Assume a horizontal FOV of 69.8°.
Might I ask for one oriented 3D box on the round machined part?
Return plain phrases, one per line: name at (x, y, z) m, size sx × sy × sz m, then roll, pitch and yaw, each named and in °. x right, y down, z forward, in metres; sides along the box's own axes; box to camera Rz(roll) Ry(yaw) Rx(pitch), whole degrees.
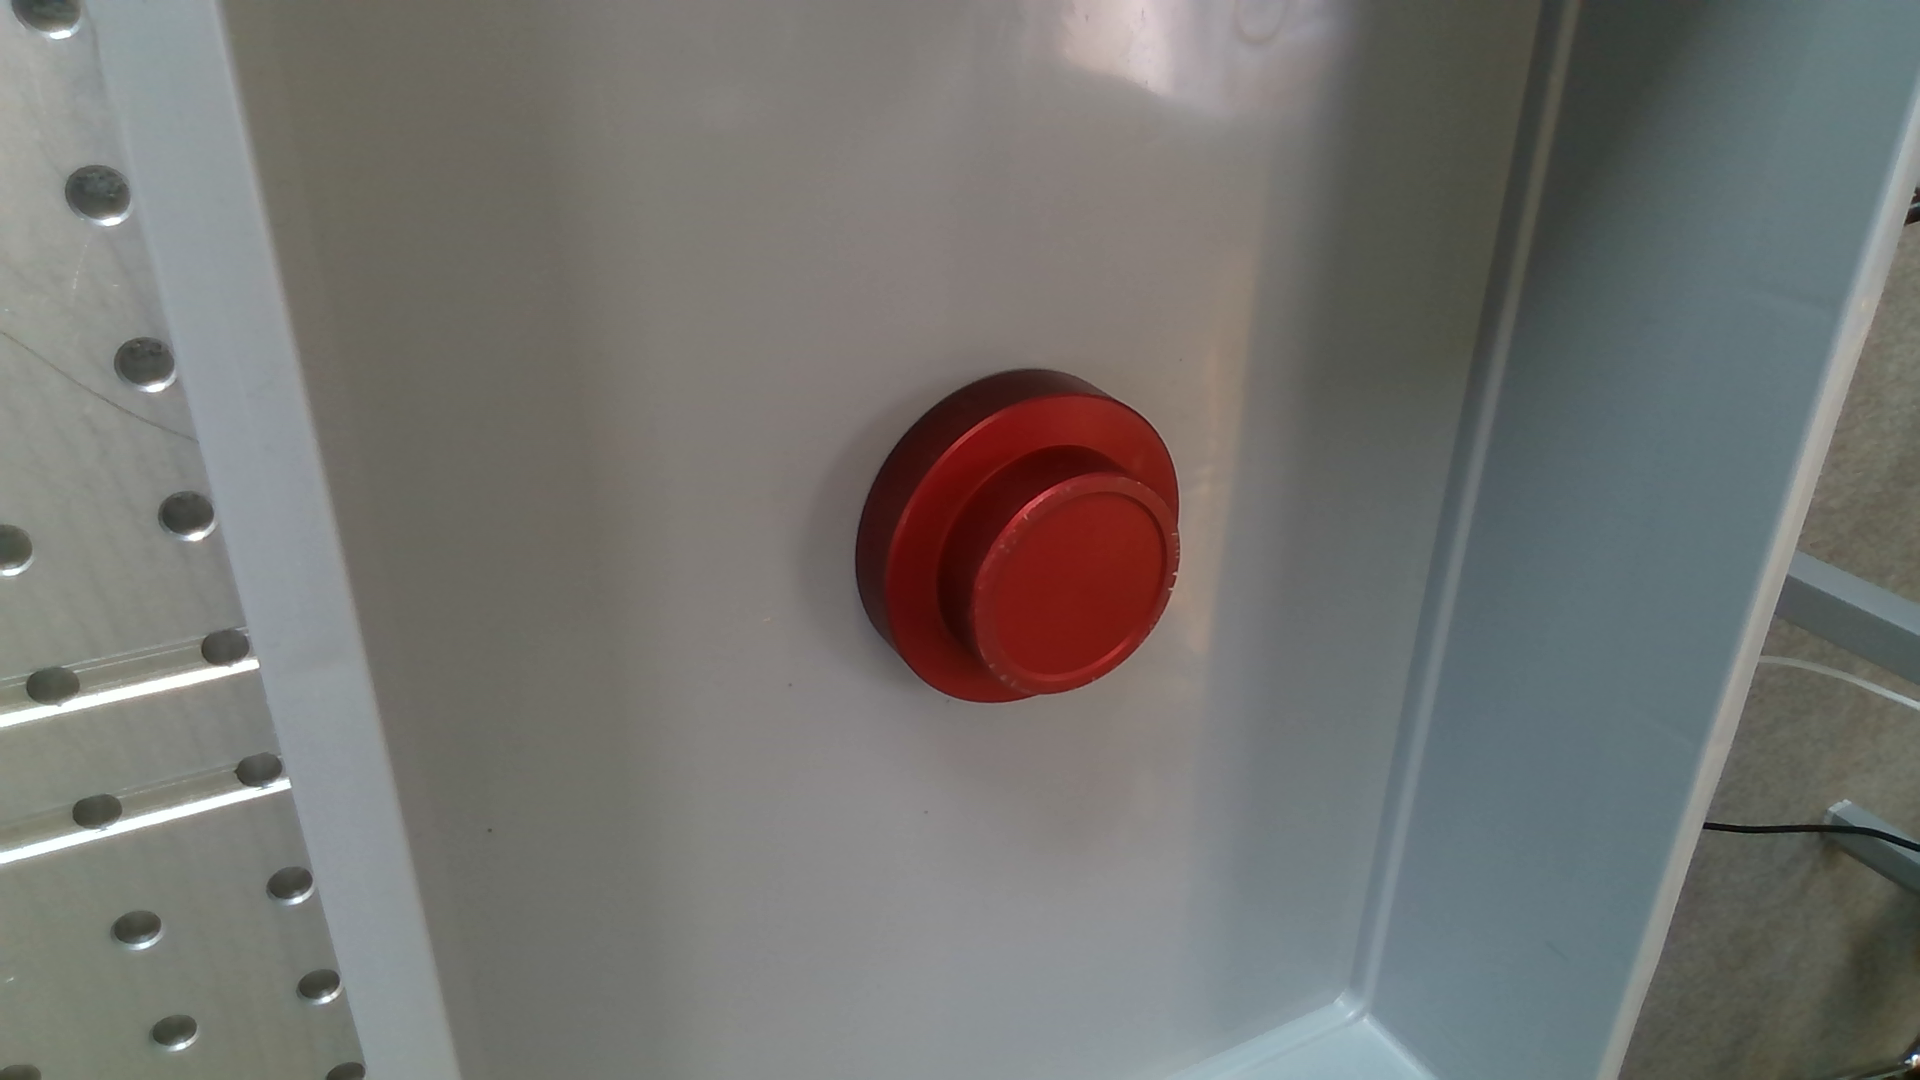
round machined part at (0.023, 0.004, 0.391) m, size 0.098 × 0.042 × 0.098 m, roll -14°, pitch 122°, yaw -25°
